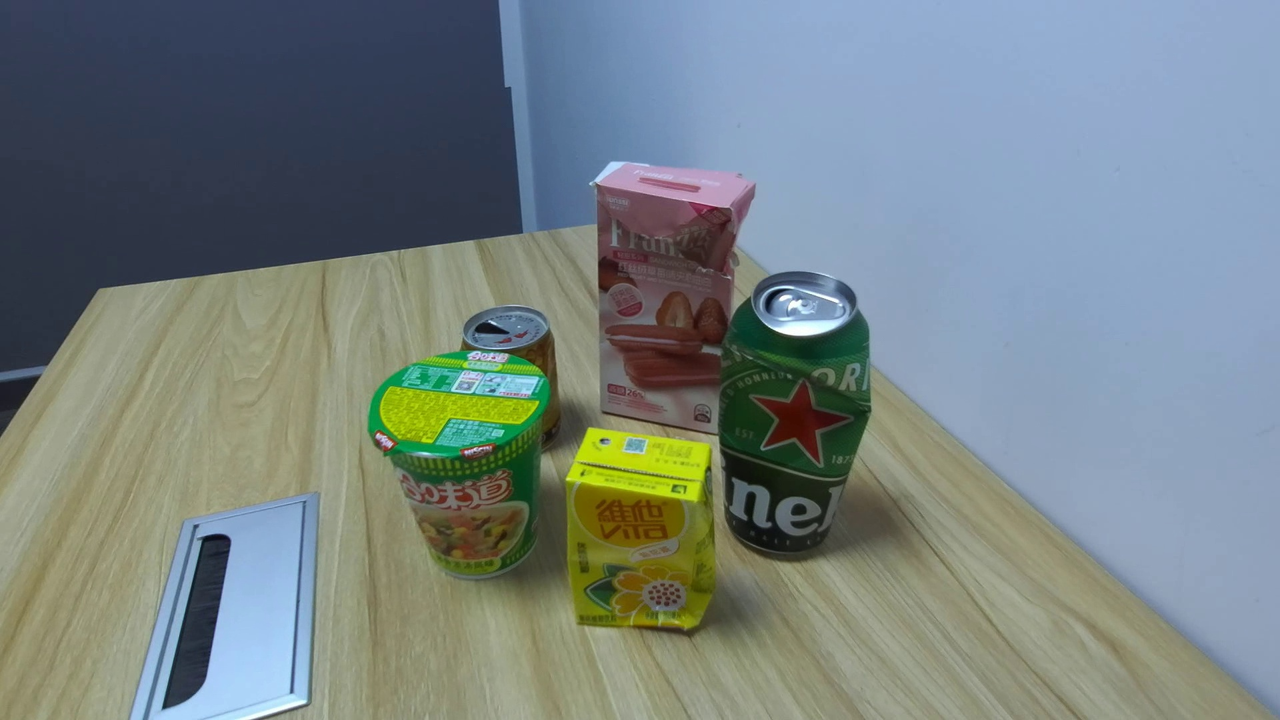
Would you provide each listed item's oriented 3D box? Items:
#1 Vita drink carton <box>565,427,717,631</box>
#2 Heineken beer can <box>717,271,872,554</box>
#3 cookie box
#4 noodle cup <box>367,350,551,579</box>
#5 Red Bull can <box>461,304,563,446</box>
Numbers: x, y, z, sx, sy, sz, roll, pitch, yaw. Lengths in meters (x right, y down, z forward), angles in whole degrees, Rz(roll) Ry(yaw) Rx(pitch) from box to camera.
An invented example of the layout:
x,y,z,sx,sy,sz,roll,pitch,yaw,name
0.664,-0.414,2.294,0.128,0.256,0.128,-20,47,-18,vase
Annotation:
x,y,z,sx,sy,sz,roll,pitch,yaw,name
0.004,0.094,0.370,0.076,0.109,0.043,7,34,11,Vita drink carton
0.085,0.037,0.403,0.069,0.168,0.068,-14,37,-16,Heineken beer can
0.020,-0.040,0.505,0.105,0.186,0.059,12,36,16,cookie box
-0.099,0.066,0.415,0.097,0.110,0.097,1,34,0,noodle cup
-0.092,0.015,0.511,0.068,0.093,0.068,-1,33,1,Red Bull can
